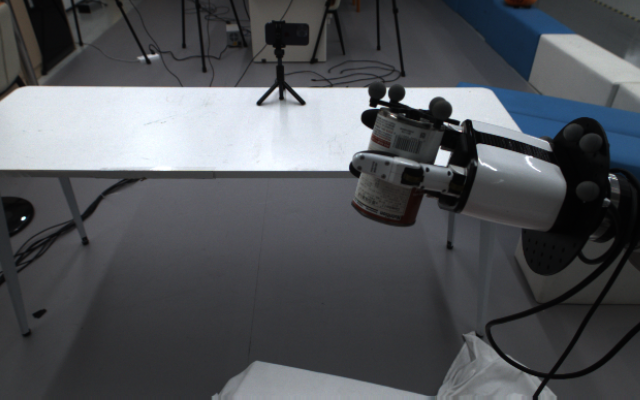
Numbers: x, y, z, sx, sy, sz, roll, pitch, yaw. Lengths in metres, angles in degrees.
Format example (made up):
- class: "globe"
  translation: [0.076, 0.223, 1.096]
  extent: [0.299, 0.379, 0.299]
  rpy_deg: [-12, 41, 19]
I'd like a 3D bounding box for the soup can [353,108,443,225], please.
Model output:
- class: "soup can"
  translation: [0.079, -0.034, 0.482]
  extent: [0.067, 0.101, 0.067]
  rpy_deg: [13, 18, -4]
